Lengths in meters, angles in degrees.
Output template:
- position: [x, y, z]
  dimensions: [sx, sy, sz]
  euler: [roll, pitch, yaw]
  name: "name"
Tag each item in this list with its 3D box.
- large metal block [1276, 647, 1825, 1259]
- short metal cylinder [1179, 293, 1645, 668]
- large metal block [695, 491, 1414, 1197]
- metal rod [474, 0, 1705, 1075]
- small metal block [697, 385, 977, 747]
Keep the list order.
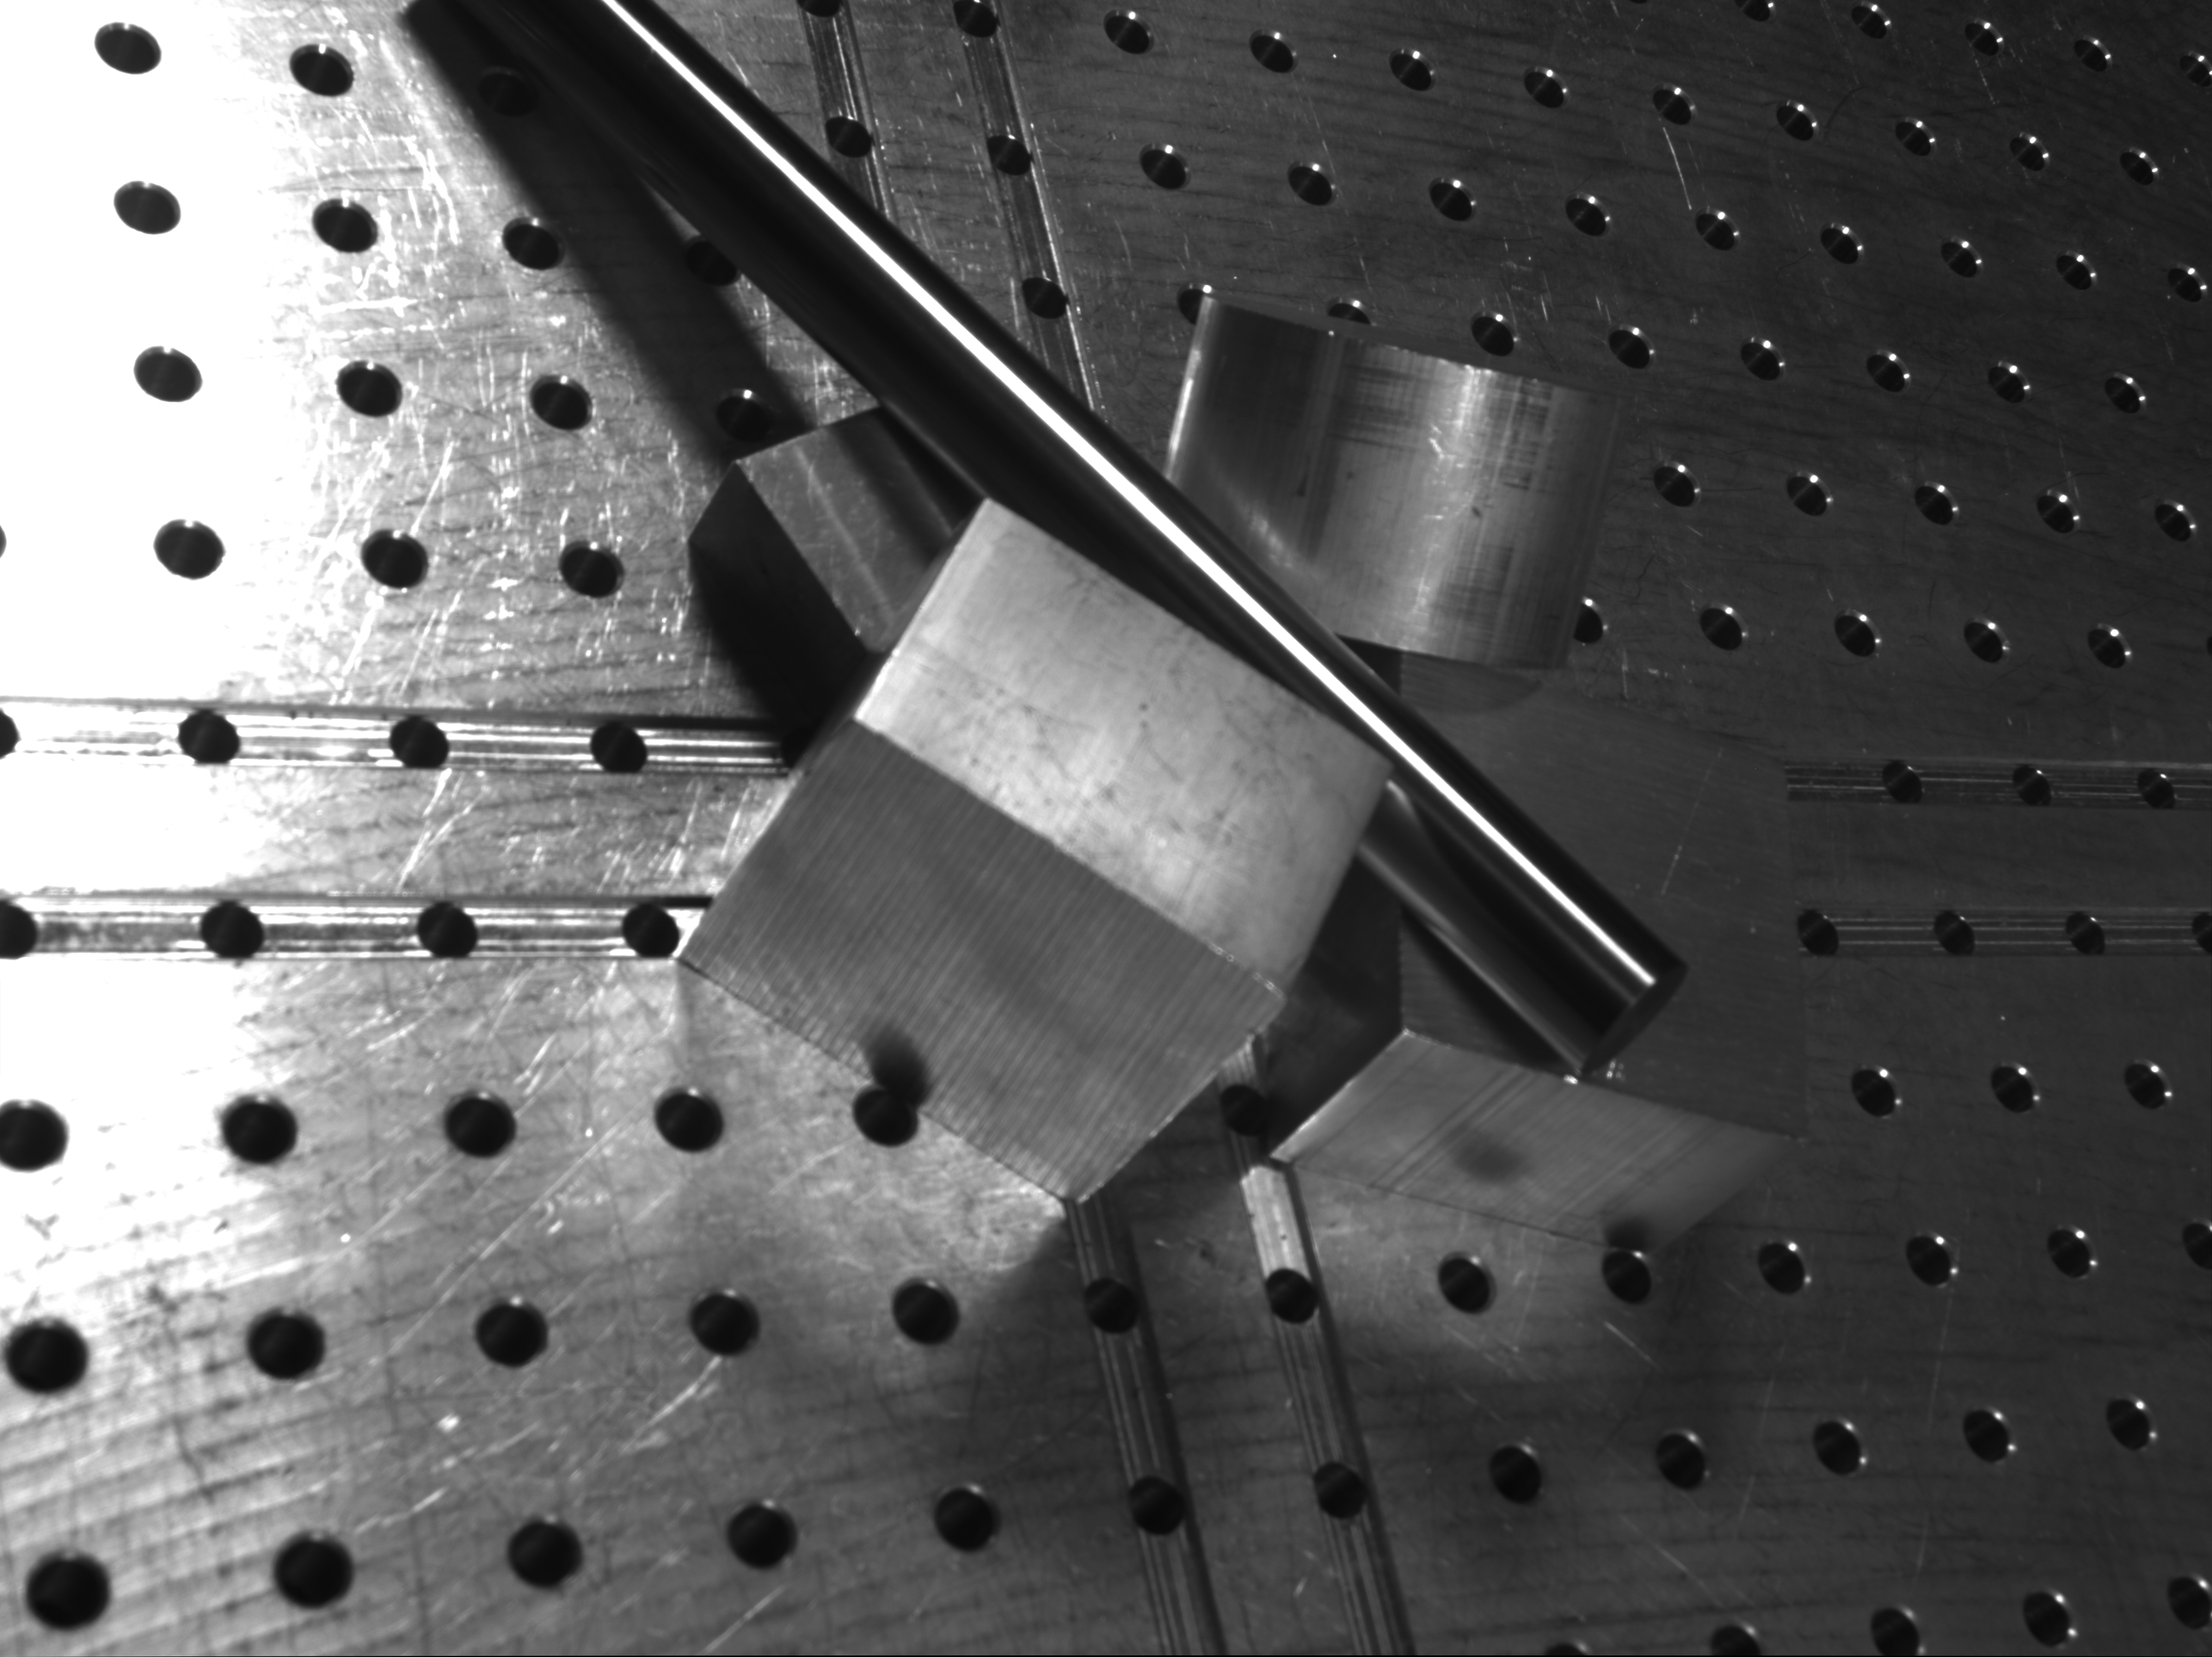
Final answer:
- position: [0.078, 0.022, 0.655]
  dimensions: [0.080, 0.050, 0.080]
  euler: [16, 55, -19]
  name: "large metal block"
- position: [0.053, -0.064, 0.667]
  dimensions: [0.080, 0.080, 0.050]
  euler: [9, 101, -24]
  name: "short metal cylinder"
- position: [-0.009, 0.005, 0.599]
  dimensions: [0.080, 0.080, 0.050]
  euler: [33, 51, -7]
  name: "large metal block"
- position: [-0.013, -0.069, 0.639]
  dimensions: [0.300, 0.025, 0.025]
  euler: [45, 50, 18]
  name: "metal rod"
- position: [-0.036, -0.047, 0.653]
  dimensions: [0.050, 0.025, 0.050]
  euler: [-27, 76, -37]
  name: "small metal block"
